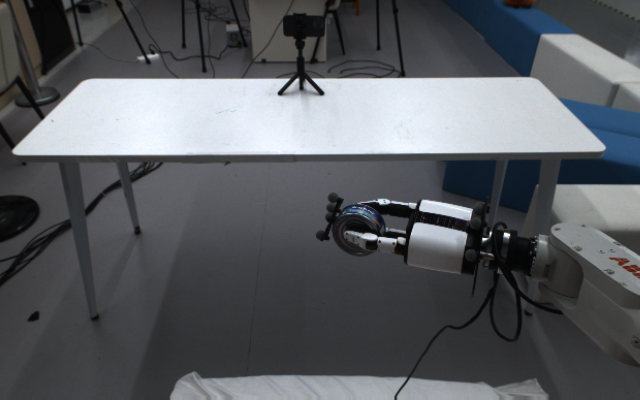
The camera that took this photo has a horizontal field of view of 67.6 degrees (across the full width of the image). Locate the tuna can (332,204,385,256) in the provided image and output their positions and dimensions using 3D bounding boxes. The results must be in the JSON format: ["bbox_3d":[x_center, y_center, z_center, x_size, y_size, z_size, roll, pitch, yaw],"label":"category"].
[{"bbox_3d":[0.066,0.049,0.806,0.085,0.085,0.034,12,30,14],"label":"tuna can"}]
